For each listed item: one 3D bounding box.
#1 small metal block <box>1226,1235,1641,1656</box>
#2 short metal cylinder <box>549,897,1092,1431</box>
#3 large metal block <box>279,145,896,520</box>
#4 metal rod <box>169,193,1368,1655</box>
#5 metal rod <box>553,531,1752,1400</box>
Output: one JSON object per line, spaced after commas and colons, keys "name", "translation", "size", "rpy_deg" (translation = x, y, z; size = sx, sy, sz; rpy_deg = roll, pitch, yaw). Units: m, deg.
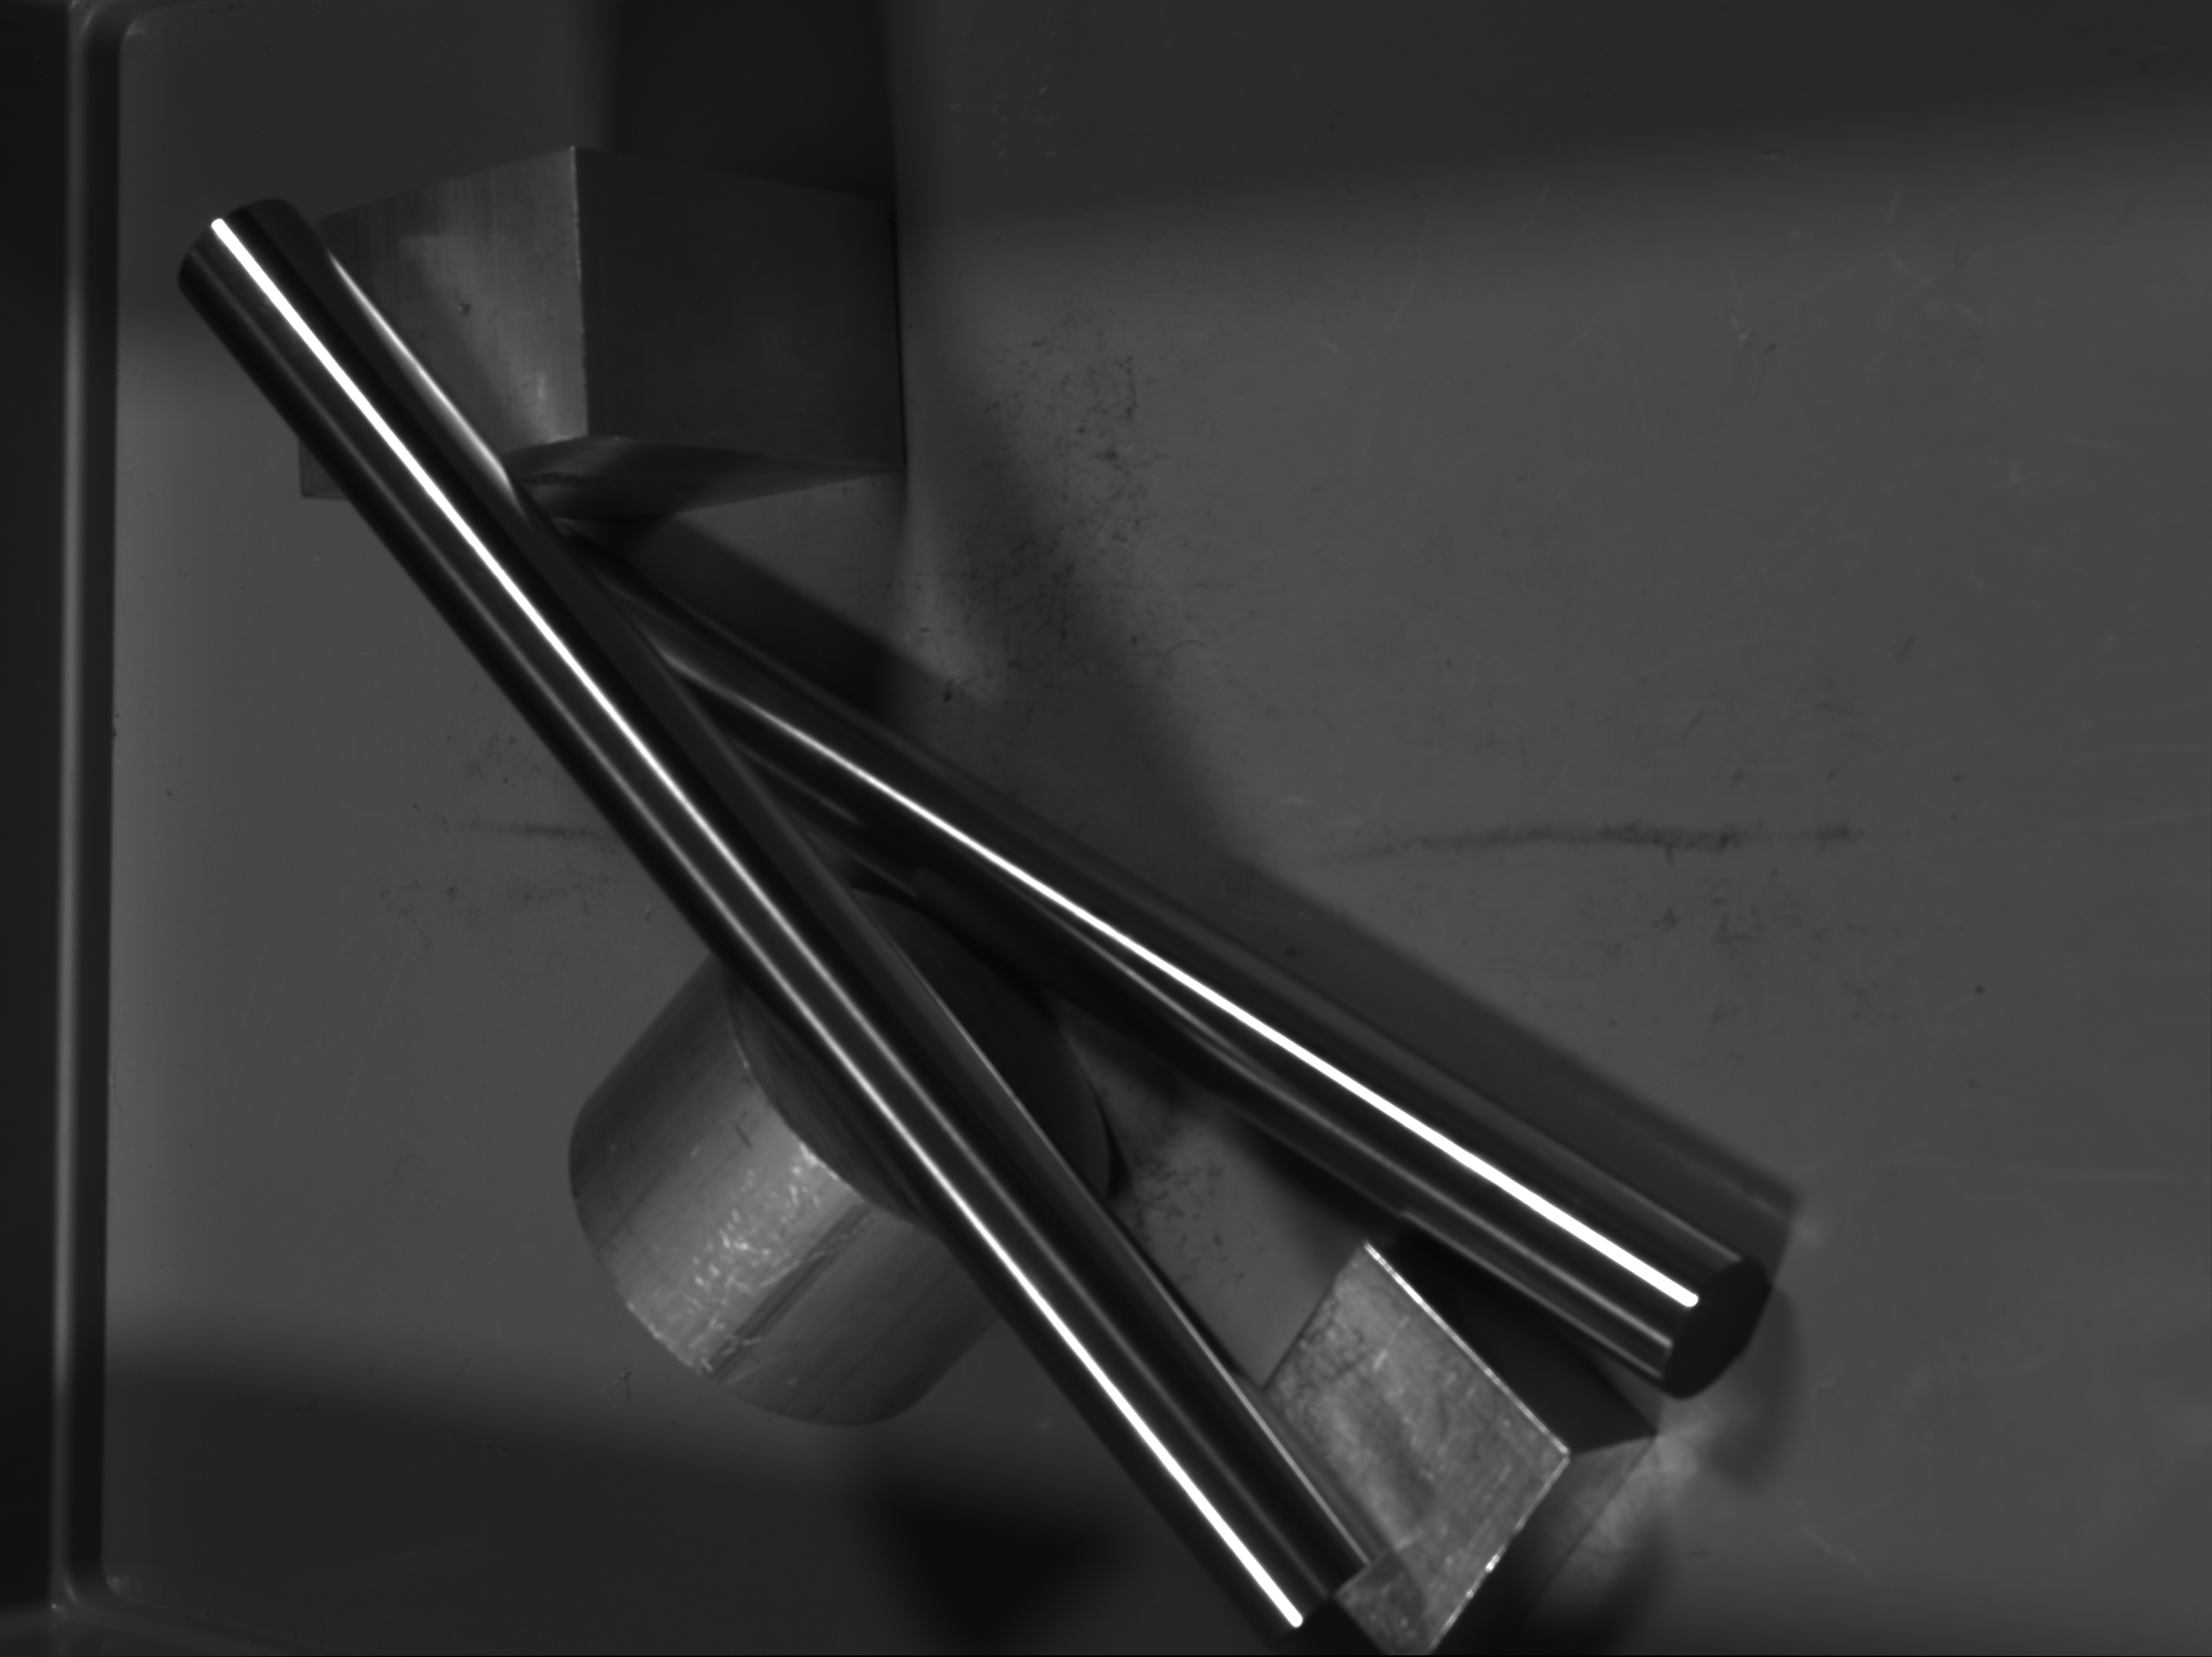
{"name": "small metal block", "translation": [0.050, 0.101, 0.594], "size": [0.050, 0.025, 0.050], "rpy_deg": [45, 117, 30]}
{"name": "short metal cylinder", "translation": [-0.049, 0.057, 0.639], "size": [0.050, 0.080, 0.080], "rpy_deg": [-47, 62, 29]}
{"name": "large metal block", "translation": [-0.097, -0.089, 0.680], "size": [0.080, 0.080, 0.050], "rpy_deg": [-5, 87, 39]}
{"name": "metal rod", "translation": [-0.061, 0.010, 0.610], "size": [0.300, 0.025, 0.025], "rpy_deg": [50, 120, 13]}
{"name": "metal rod", "translation": [-0.014, 0.013, 0.646], "size": [0.299, 0.025, 0.025], "rpy_deg": [31, 109, 35]}
